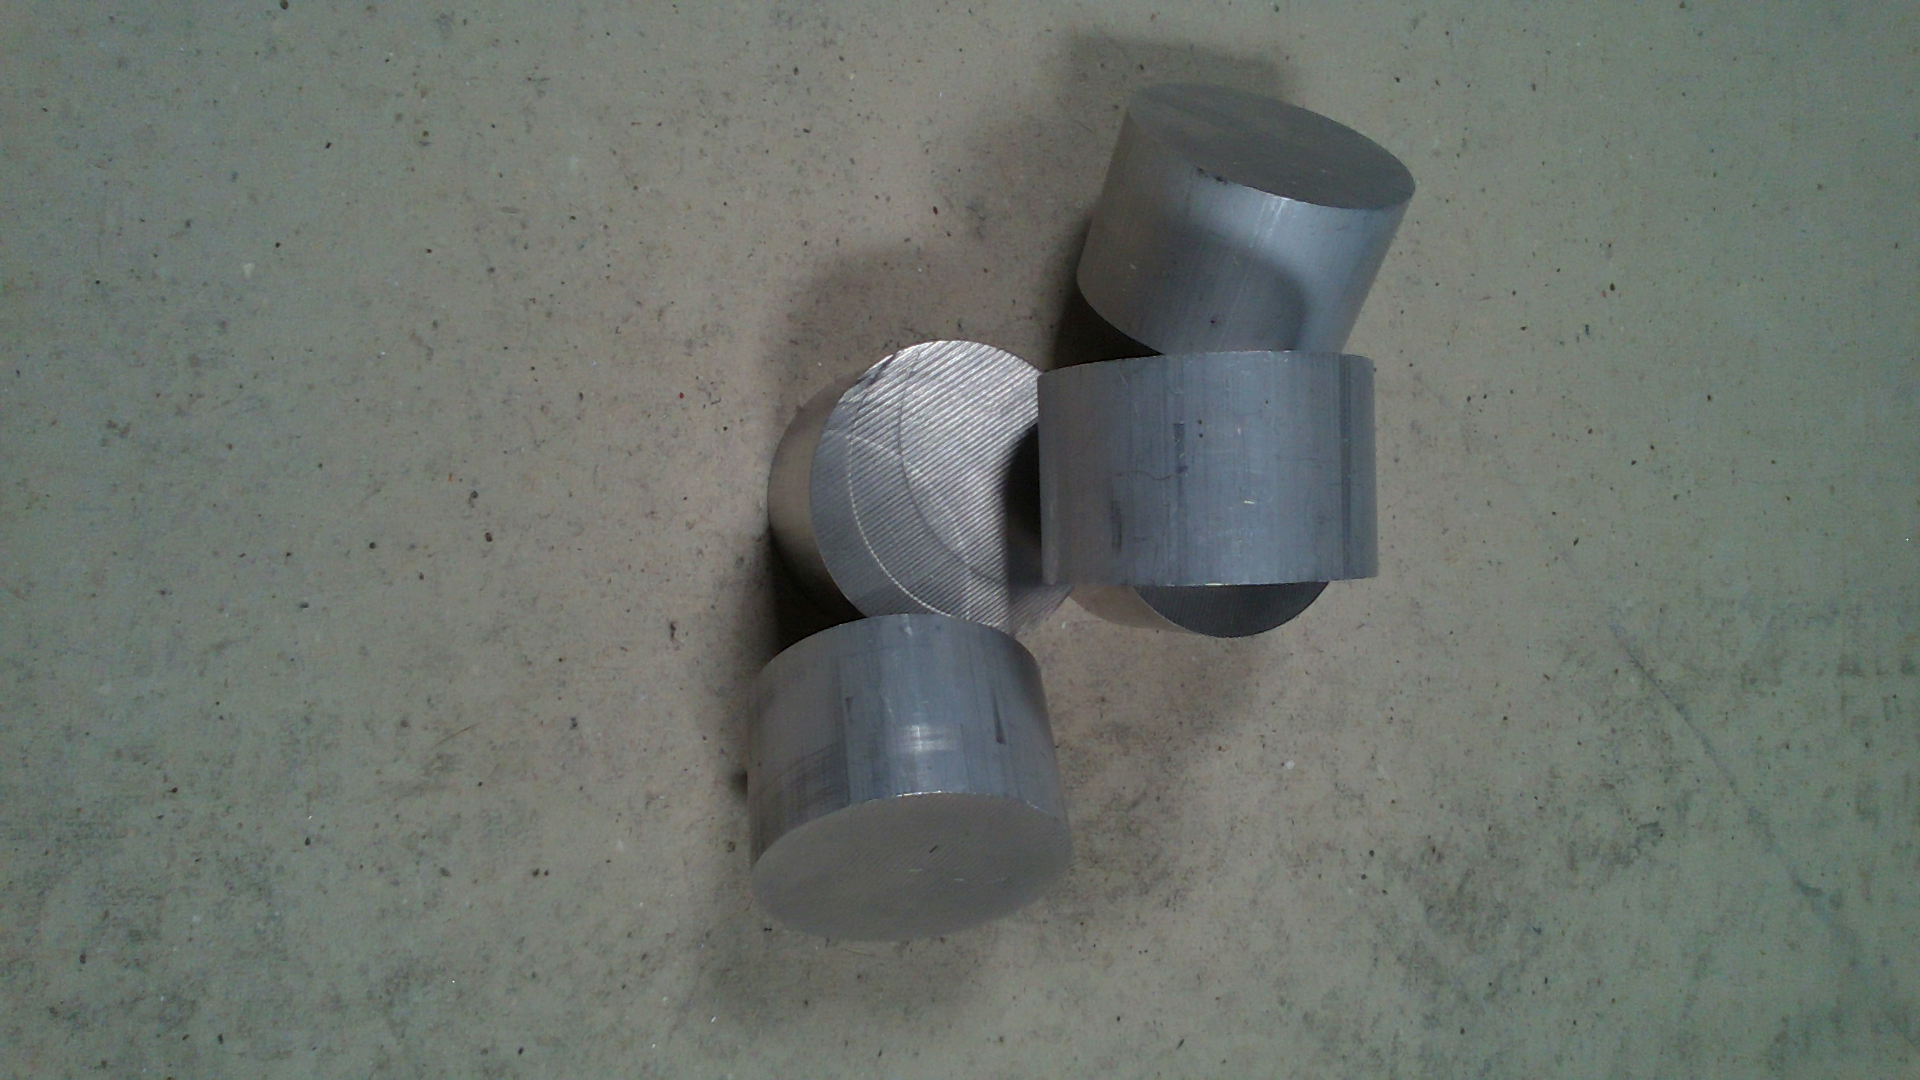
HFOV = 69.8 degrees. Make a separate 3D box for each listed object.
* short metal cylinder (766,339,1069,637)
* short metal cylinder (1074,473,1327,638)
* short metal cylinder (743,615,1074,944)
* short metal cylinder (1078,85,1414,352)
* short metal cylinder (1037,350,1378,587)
[{"bbox_3d":[-0.008,-0.012,0.377,0.080,0.050,0.080,0,90,-20],"label":"short metal cylinder"},{"bbox_3d":[0.067,-0.013,0.404,0.080,0.050,0.080,0,90,-20],"label":"short metal cylinder"},{"bbox_3d":[-0.015,0.063,0.352,0.080,0.080,0.050,8,49,-20],"label":"short metal cylinder"},{"bbox_3d":[0.078,-0.087,0.385,0.080,0.080,0.050,1,128,-20],"label":"short metal cylinder"},{"bbox_3d":[0.059,-0.016,0.333,0.080,0.080,0.050,-2,91,-20],"label":"short metal cylinder"}]
